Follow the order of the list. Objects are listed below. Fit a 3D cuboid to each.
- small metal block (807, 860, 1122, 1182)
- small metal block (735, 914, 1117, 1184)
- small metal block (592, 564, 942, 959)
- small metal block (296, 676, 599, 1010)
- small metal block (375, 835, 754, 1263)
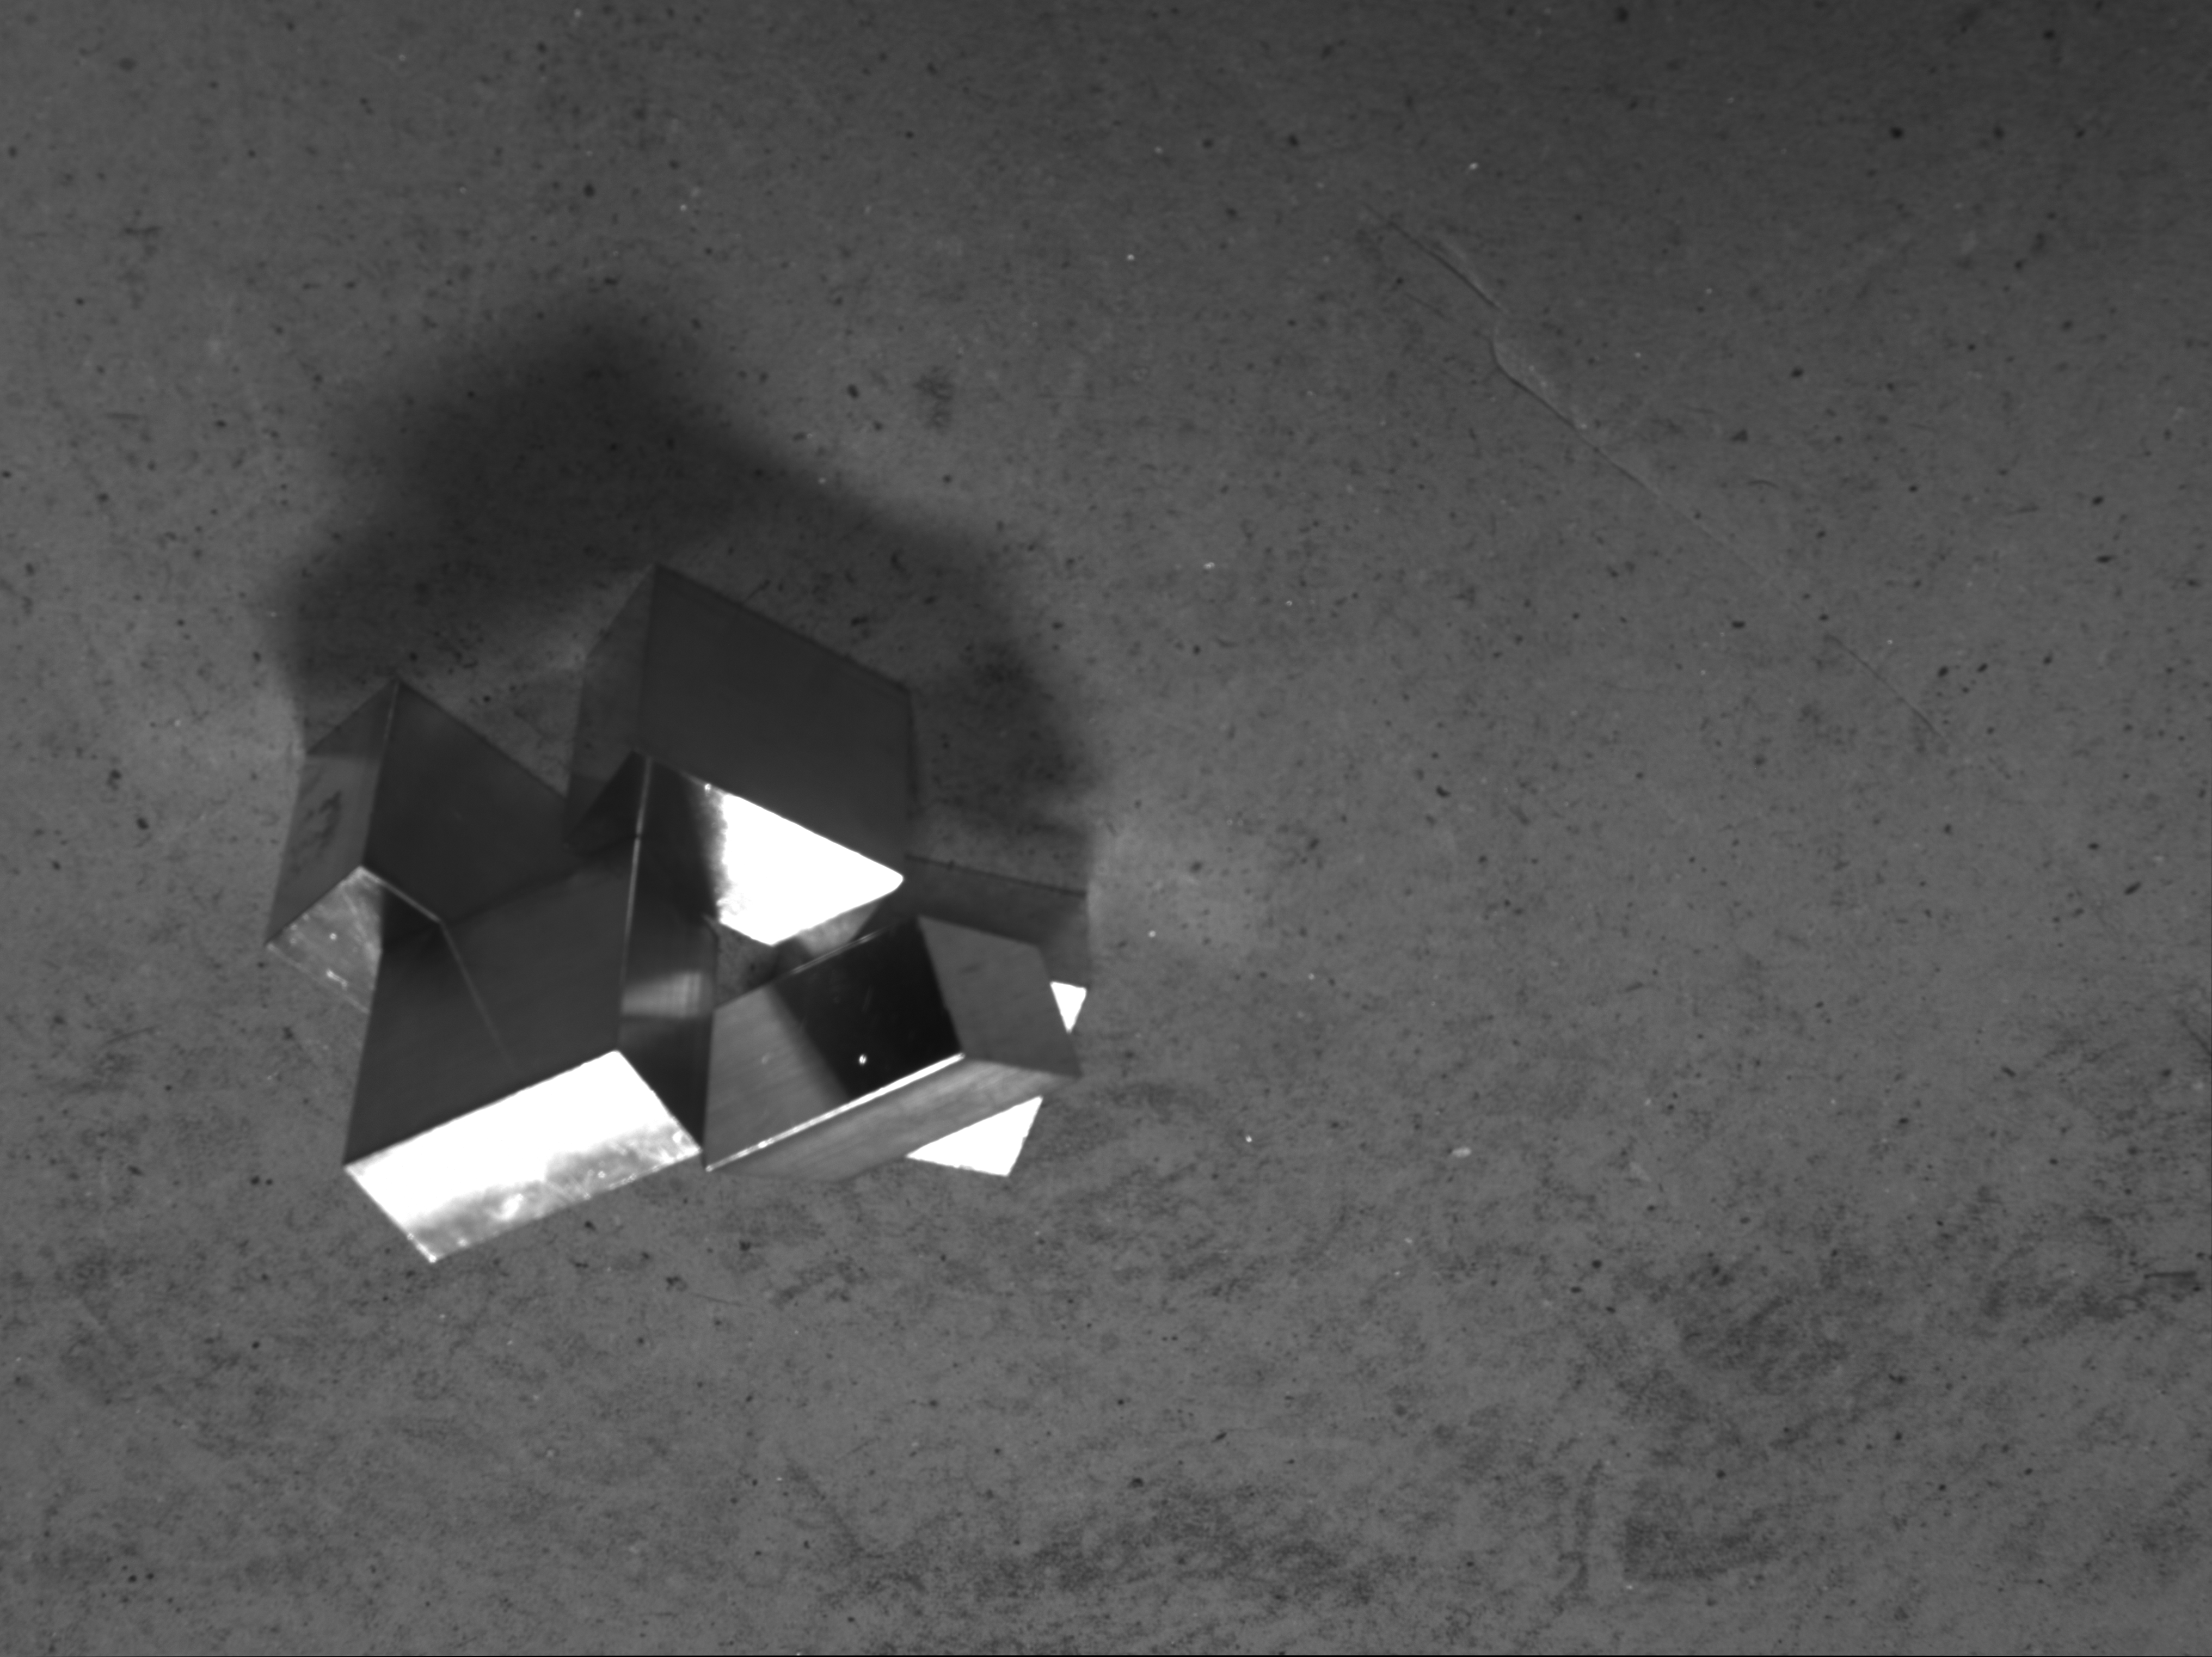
[{"bbox_3d":[-0.029,0.034,0.666,0.050,0.025,0.050,12,128,-12],"label":"small metal block"},{"bbox_3d":[-0.033,0.039,0.621,0.050,0.025,0.050,-25,164,18],"label":"small metal block"},{"bbox_3d":[-0.056,-0.010,0.612,0.050,0.050,0.025,26,124,-22],"label":"small metal block"},{"bbox_3d":[-0.107,0.010,0.628,0.025,0.050,0.050,-37,122,25],"label":"small metal block"},{"bbox_3d":[-0.085,0.035,0.584,0.050,0.050,0.025,-23,127,17],"label":"small metal block"}]
